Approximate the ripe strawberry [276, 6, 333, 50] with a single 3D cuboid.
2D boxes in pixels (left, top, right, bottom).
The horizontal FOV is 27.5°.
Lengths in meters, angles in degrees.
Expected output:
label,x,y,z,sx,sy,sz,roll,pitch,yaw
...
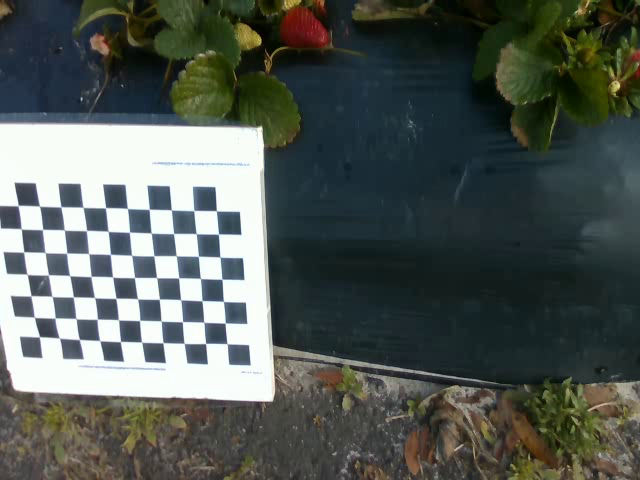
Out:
label,x,y,z,sx,sy,sz,roll,pitch,yaw
ripe strawberry,-0.021,-0.189,1.163,0.064,0.051,0.043,32,23,5
